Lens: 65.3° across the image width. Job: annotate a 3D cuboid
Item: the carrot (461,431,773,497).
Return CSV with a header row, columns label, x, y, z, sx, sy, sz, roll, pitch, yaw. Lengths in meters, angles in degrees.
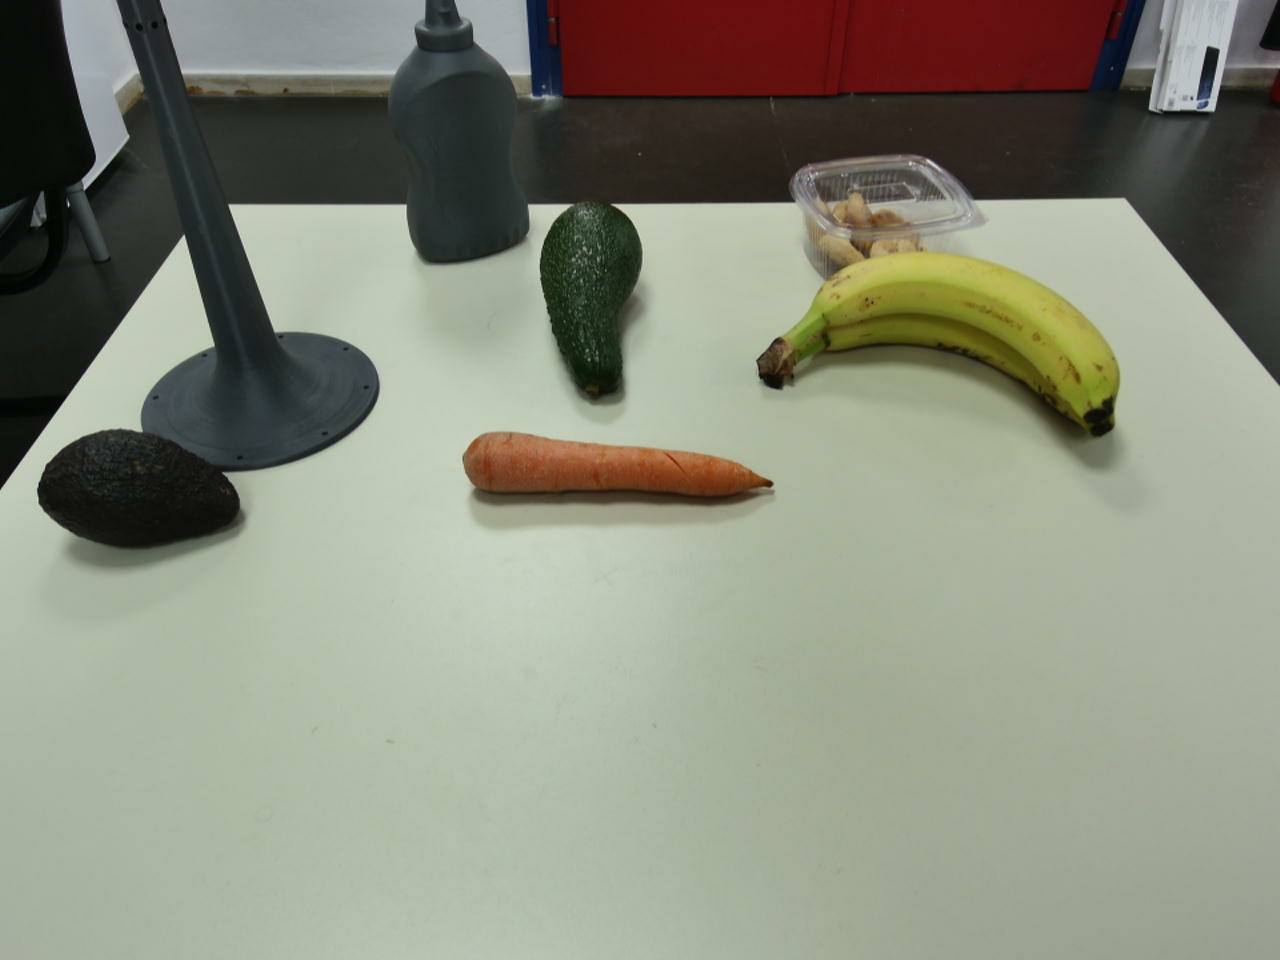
label,x,y,z,sx,sy,sz,roll,pitch,yaw
carrot,-0.012,-0.010,0.628,0.196,0.041,0.039,0,39,0
